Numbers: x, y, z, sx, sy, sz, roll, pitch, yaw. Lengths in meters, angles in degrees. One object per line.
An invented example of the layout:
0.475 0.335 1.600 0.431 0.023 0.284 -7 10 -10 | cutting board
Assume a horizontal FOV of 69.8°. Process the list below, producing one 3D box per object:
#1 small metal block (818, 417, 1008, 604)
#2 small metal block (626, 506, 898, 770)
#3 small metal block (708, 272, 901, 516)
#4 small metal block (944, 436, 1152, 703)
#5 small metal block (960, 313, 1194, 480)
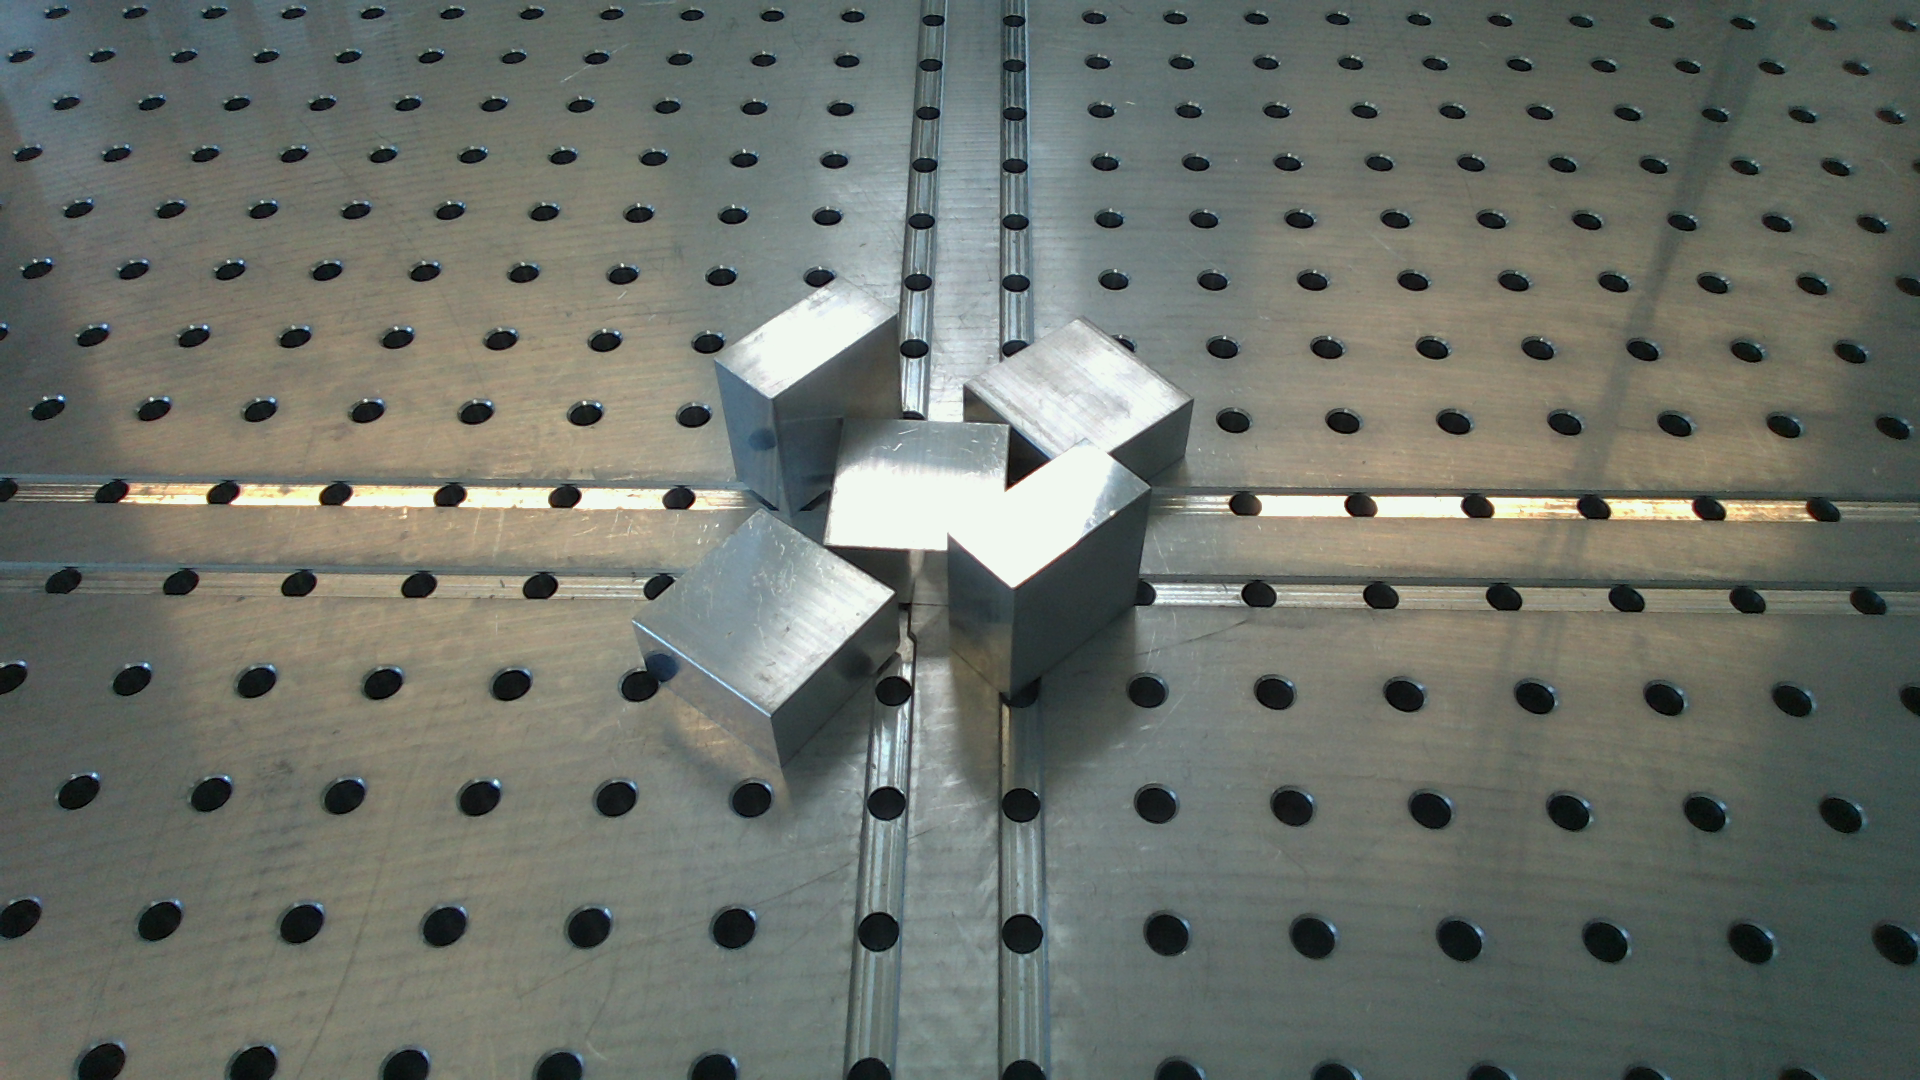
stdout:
-0.012 -0.009 0.401 0.050 0.025 0.050 2 49 3 | small metal block
-0.052 0.025 0.373 0.050 0.025 0.050 31 56 23 | small metal block
-0.045 -0.044 0.415 0.025 0.050 0.050 36 59 26 | small metal block
0.023 0.008 0.371 0.050 0.050 0.025 -35 57 -26 | small metal block
0.035 -0.037 0.426 0.050 0.025 0.050 -33 57 -24 | small metal block
